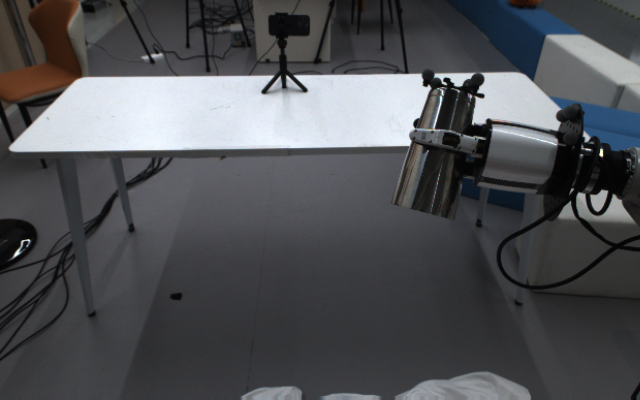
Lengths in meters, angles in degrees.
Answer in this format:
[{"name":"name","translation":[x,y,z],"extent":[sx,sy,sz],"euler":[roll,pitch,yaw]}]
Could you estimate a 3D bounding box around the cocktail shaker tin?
[{"name":"cocktail shaker tin","translation":[0.165,-0.067,0.683],"extent":[0.093,0.170,0.093],"euler":[14,2,0]}]
